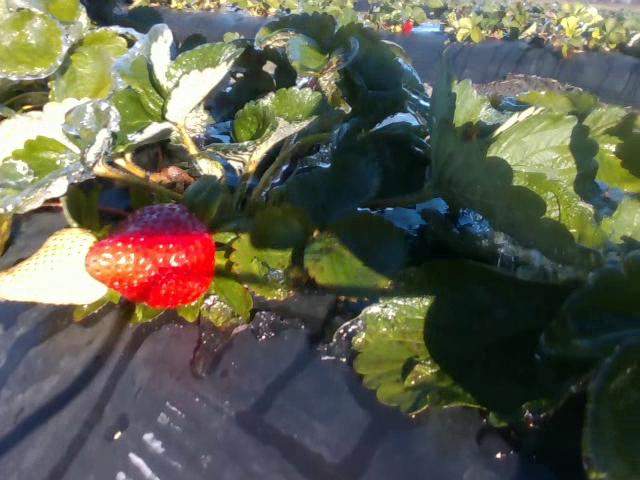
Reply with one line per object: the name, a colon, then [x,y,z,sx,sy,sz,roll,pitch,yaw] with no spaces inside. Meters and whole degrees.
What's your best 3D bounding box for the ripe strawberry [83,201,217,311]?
ripe strawberry: [-0.068,0.010,0.225,0.042,0.046,0.061,13,11,32]
